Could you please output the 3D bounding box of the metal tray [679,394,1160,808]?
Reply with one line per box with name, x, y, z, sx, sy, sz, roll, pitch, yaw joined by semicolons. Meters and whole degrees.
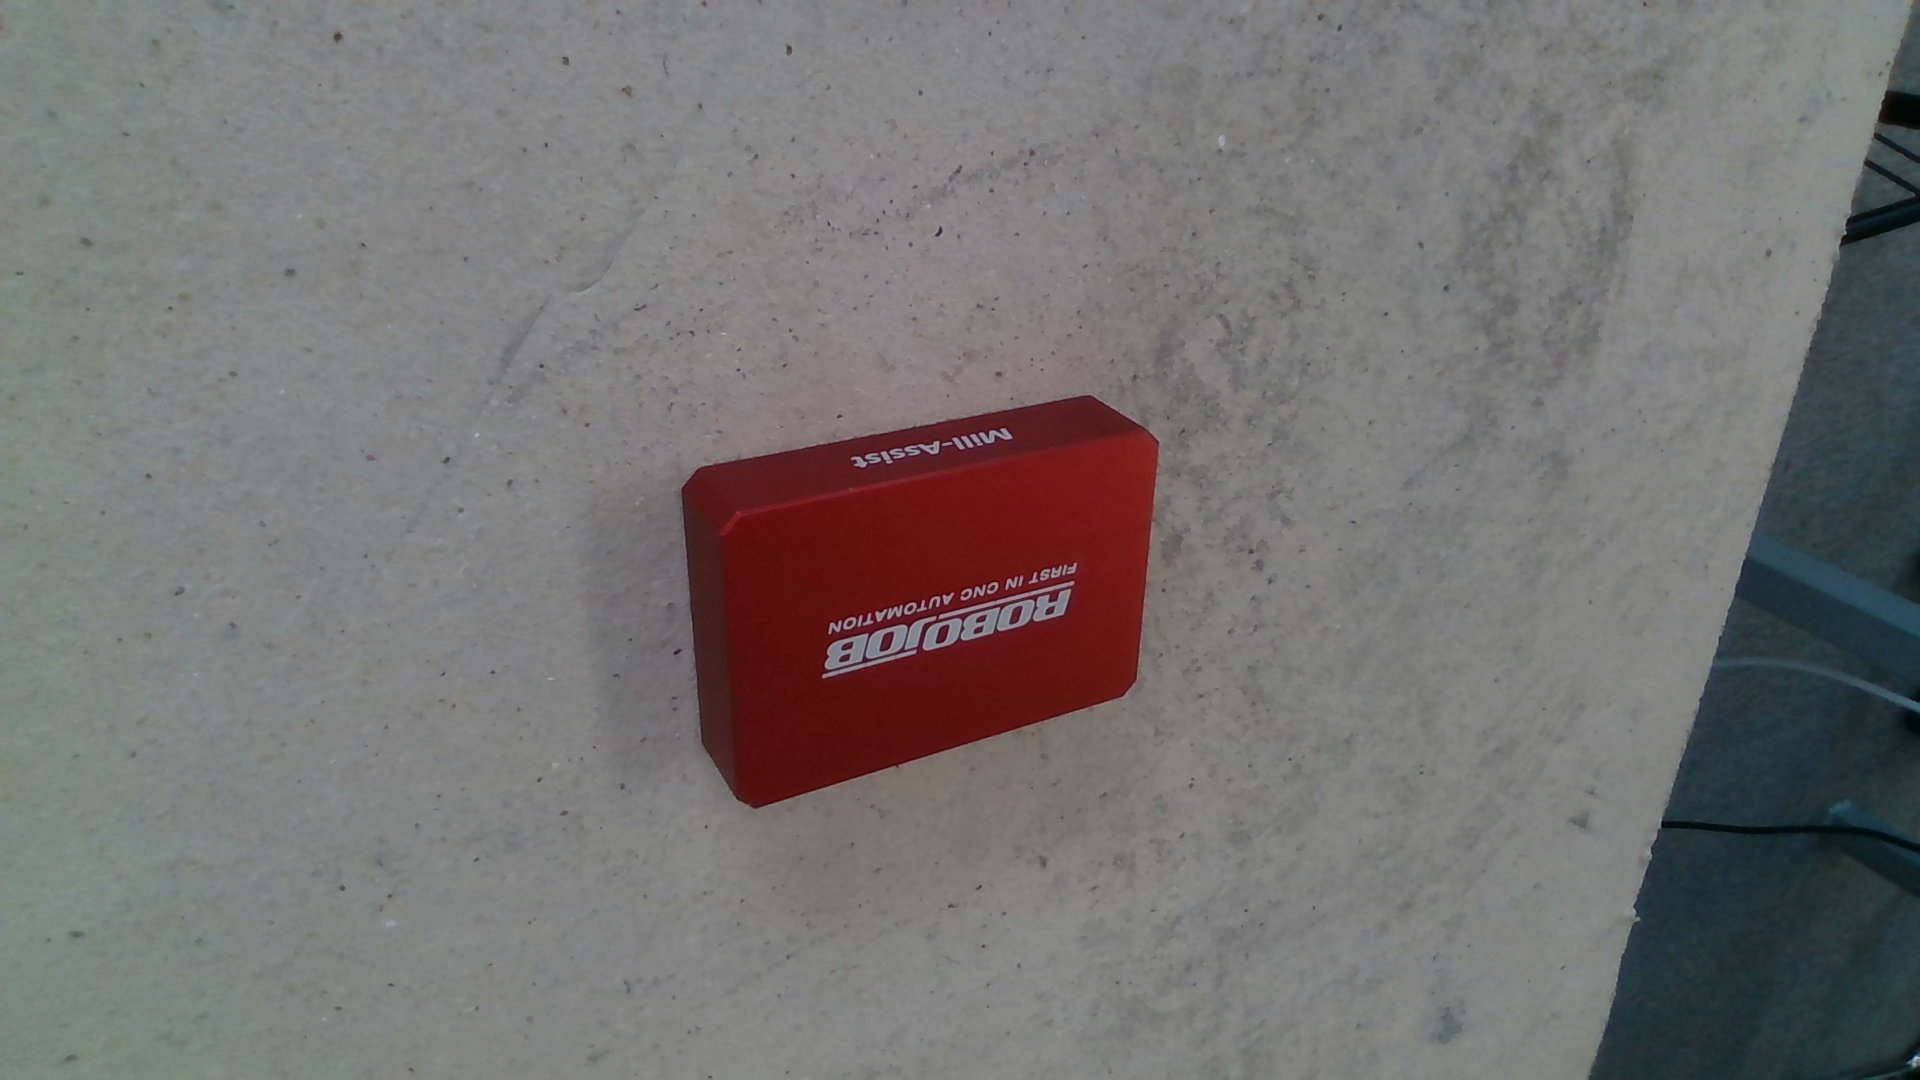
metal tray;-0.009;0.015;0.388;0.130;0.030;0.090;-13;121;-25
